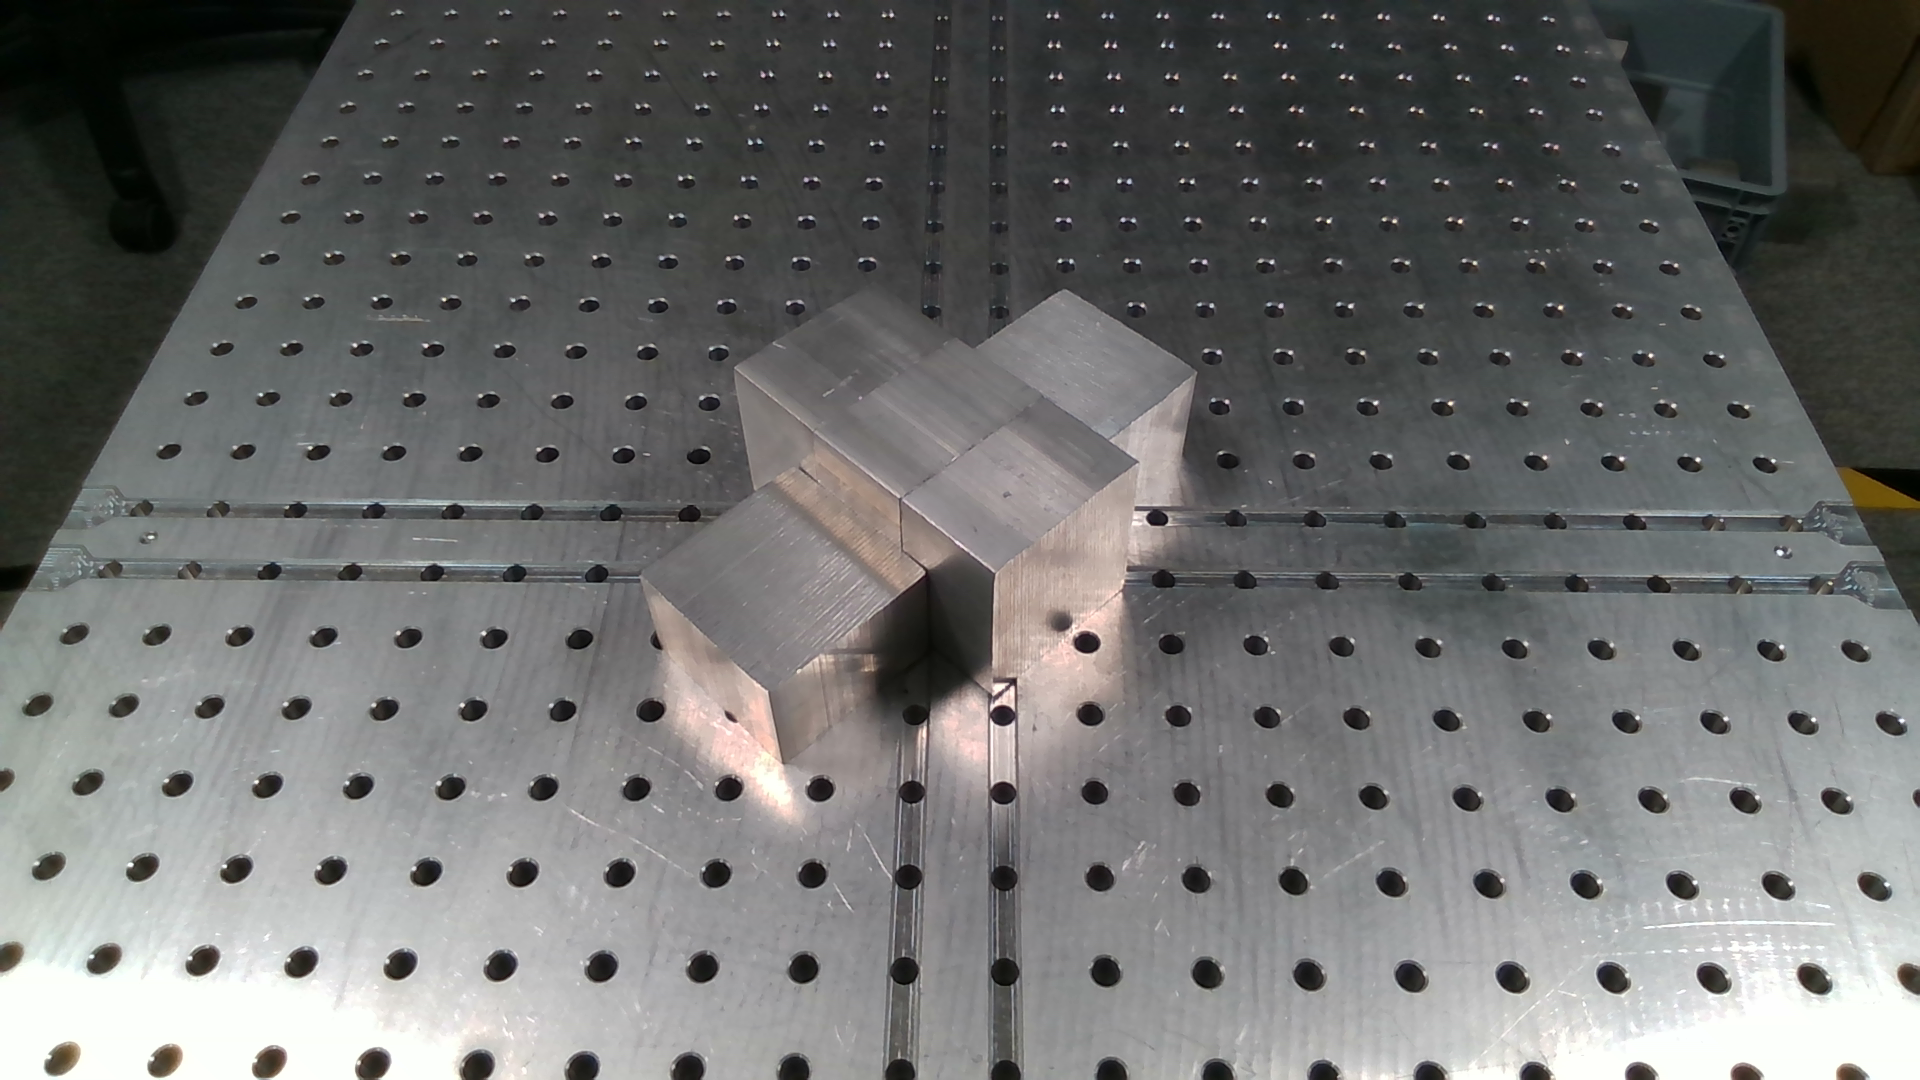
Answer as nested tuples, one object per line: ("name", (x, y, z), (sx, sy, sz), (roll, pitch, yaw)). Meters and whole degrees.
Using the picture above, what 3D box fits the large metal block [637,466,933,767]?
("large metal block", (-0.068, 0.029, 0.550), (0.080, 0.050, 0.080), (-37, 58, -26))

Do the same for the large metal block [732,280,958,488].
("large metal block", (-0.047, -0.052, 0.598), (0.080, 0.080, 0.050), (-37, 59, -27))

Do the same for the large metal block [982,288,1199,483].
("large metal block", (0.048, -0.057, 0.618), (0.080, 0.050, 0.080), (37, 59, 28))

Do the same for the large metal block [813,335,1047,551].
("large metal block", (-0.011, -0.025, 0.576), (0.080, 0.080, 0.050), (-37, 59, -27))

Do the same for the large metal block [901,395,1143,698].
("large metal block", (0.024, 0.003, 0.552), (0.080, 0.080, 0.050), (-37, 59, -27))
